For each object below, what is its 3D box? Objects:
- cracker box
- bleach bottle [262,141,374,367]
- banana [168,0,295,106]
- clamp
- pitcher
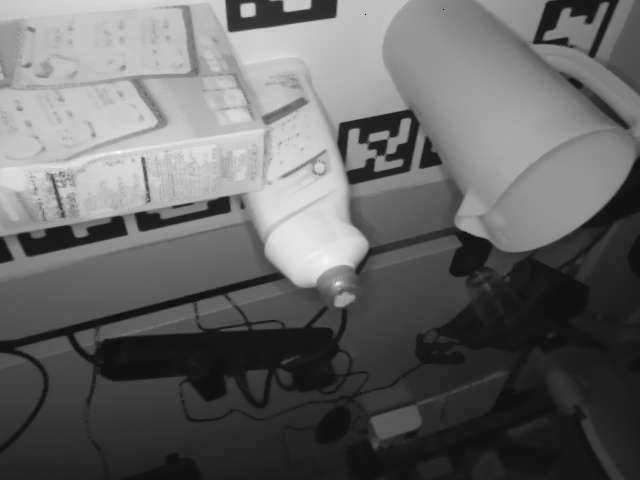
[{"bbox_3d":[-0.148,-0.021,0.619,0.216,0.164,0.071,-14,145,-16],"label":"cracker box"},{"bbox_3d":[0.006,0.011,0.699,0.103,0.251,0.067,-14,143,-14],"label":"bleach bottle"},{"bbox_3d":[-0.067,-0.186,0.605,0.196,0.039,0.075,-34,143,13],"label":"banana"},{"bbox_3d":[0.144,-0.216,0.674,0.165,0.036,0.121,-23,145,0],"label":"clamp"},{"bbox_3d":[0.191,-0.043,0.703,0.189,0.243,0.133,-23,144,3],"label":"pitcher"}]
